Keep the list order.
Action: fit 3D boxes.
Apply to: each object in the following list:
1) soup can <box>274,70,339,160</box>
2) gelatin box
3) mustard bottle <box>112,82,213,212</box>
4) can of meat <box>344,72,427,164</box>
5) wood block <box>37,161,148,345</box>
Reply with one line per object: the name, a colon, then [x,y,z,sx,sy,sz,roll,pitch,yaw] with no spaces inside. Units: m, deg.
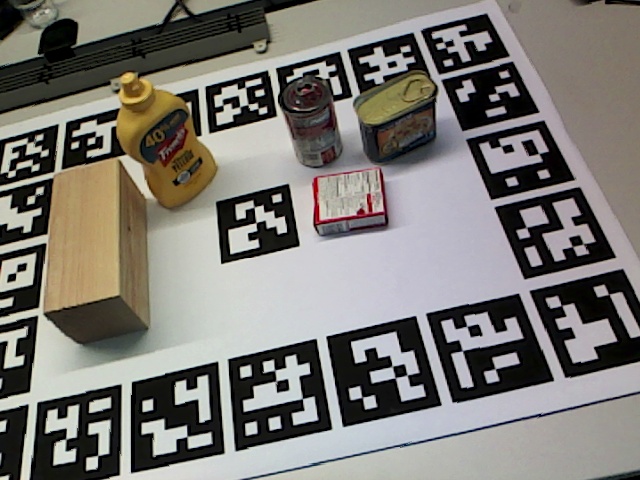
soup can: [-0.015,-0.160,0.804,0.068,0.101,0.068,-6,58,9]
gelatin box: [0.033,-0.049,0.769,0.089,0.030,0.073,-7,58,11]
mustard bottle: [-0.208,-0.123,0.786,0.096,0.190,0.059,-35,56,-13]
can of meat: [0.086,-0.156,0.800,0.102,0.083,0.058,-25,56,-7]
wood block: [-0.276,0.012,0.769,0.091,0.089,0.207,-13,52,2]
